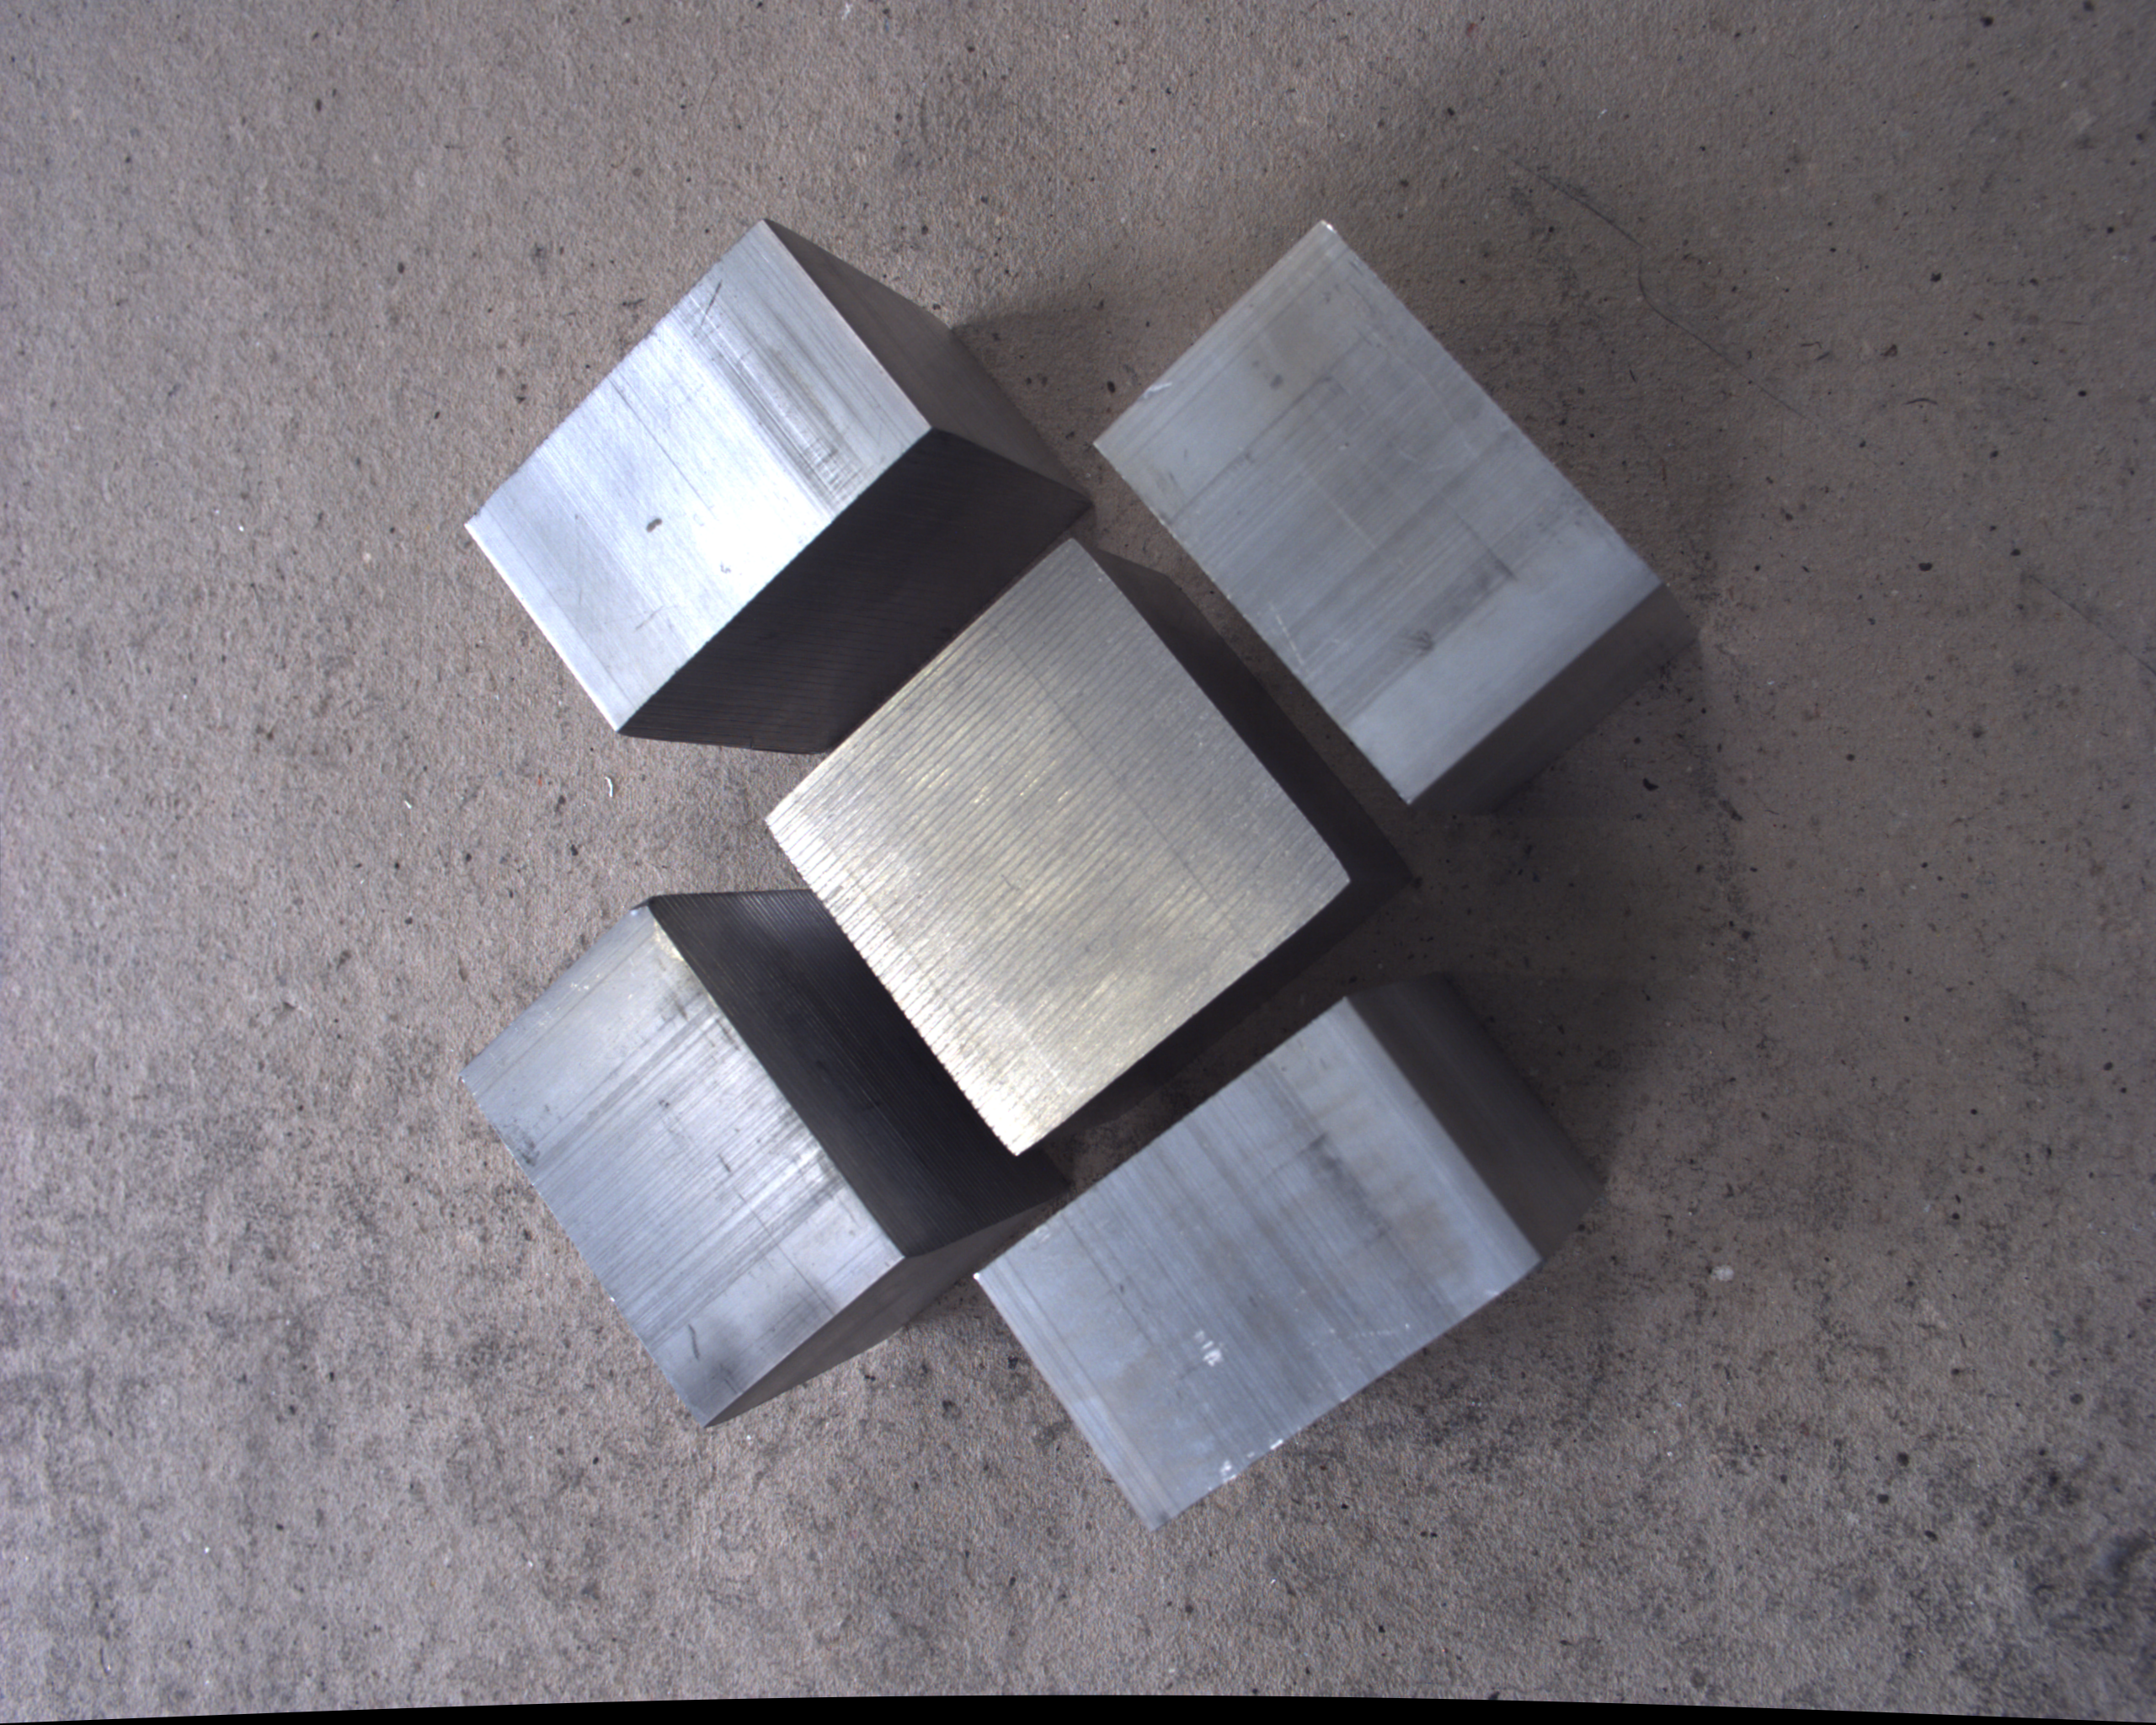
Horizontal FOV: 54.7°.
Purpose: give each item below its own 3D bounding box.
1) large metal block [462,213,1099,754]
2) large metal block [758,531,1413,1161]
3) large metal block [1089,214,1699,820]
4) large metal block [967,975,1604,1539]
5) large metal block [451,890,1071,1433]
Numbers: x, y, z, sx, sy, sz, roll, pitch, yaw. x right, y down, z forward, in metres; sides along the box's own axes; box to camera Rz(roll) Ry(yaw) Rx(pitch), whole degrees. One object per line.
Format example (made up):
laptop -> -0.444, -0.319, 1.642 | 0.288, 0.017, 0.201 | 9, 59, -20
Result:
large metal block -> -0.054, -0.067, 0.401 | 0.080, 0.080, 0.050 | -41, 77, 15
large metal block -> 0.002, -0.003, 0.393 | 0.080, 0.050, 0.080 | -41, 77, 15
large metal block -> 0.058, -0.055, 0.360 | 0.050, 0.080, 0.080 | -42, 77, 14
large metal block -> 0.040, 0.065, 0.366 | 0.080, 0.080, 0.050 | -39, 77, 15
large metal block -> -0.058, 0.052, 0.401 | 0.050, 0.080, 0.080 | -42, 77, 15
